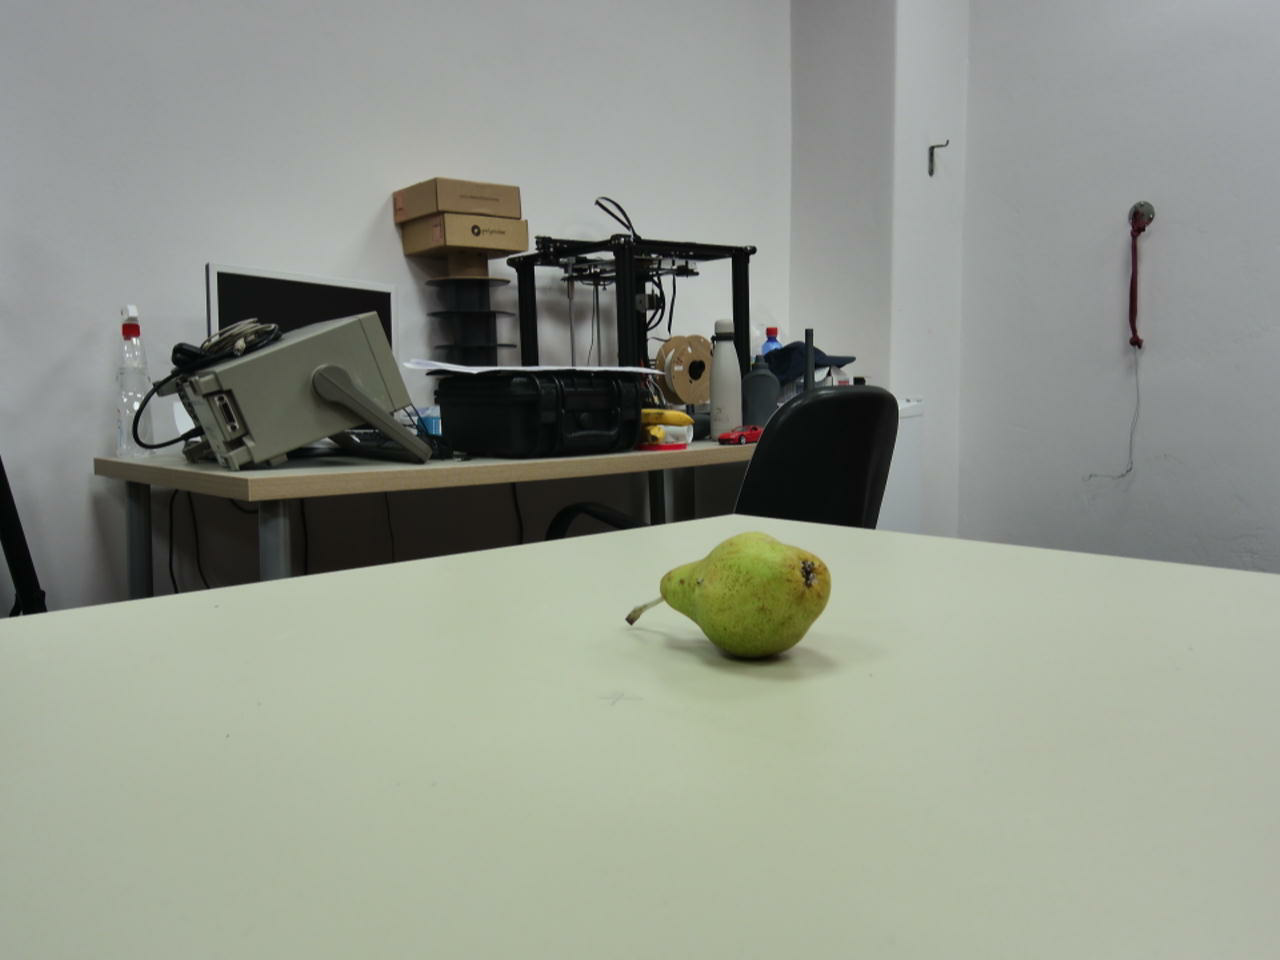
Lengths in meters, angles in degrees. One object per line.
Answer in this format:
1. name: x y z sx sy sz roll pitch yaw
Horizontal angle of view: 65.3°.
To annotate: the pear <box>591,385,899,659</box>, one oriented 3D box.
1. pear: 0.042 0.052 0.475 0.056 0.056 0.111 0 3 -25
